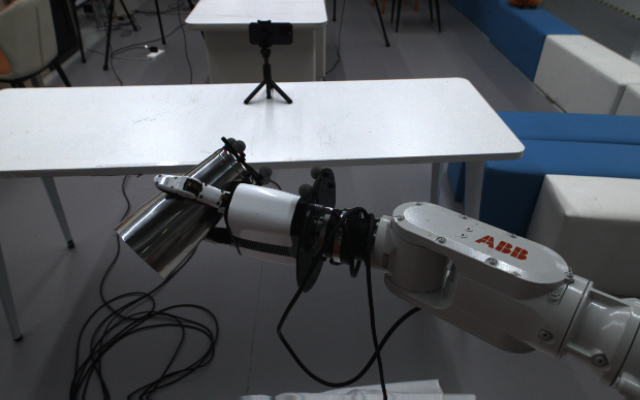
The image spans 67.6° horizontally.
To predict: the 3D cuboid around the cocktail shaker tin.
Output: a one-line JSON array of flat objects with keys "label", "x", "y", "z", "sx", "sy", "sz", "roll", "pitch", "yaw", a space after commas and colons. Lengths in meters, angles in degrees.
[{"label": "cocktail shaker tin", "x": -0.172, "y": 0.008, "z": 0.642, "sx": 0.170, "sy": 0.093, "sz": 0.093, "roll": -43, "pitch": 50, "yaw": -14}]
